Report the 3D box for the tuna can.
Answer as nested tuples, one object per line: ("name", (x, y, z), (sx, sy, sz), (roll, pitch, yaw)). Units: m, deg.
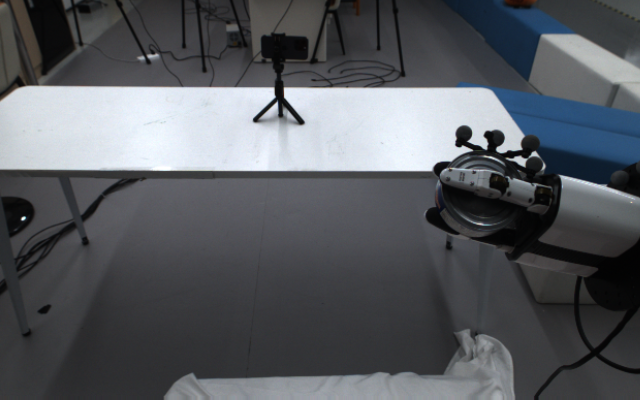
("tuna can", (0.167, -0.009, 0.504), (0.085, 0.034, 0.085), (0, 71, 0))
